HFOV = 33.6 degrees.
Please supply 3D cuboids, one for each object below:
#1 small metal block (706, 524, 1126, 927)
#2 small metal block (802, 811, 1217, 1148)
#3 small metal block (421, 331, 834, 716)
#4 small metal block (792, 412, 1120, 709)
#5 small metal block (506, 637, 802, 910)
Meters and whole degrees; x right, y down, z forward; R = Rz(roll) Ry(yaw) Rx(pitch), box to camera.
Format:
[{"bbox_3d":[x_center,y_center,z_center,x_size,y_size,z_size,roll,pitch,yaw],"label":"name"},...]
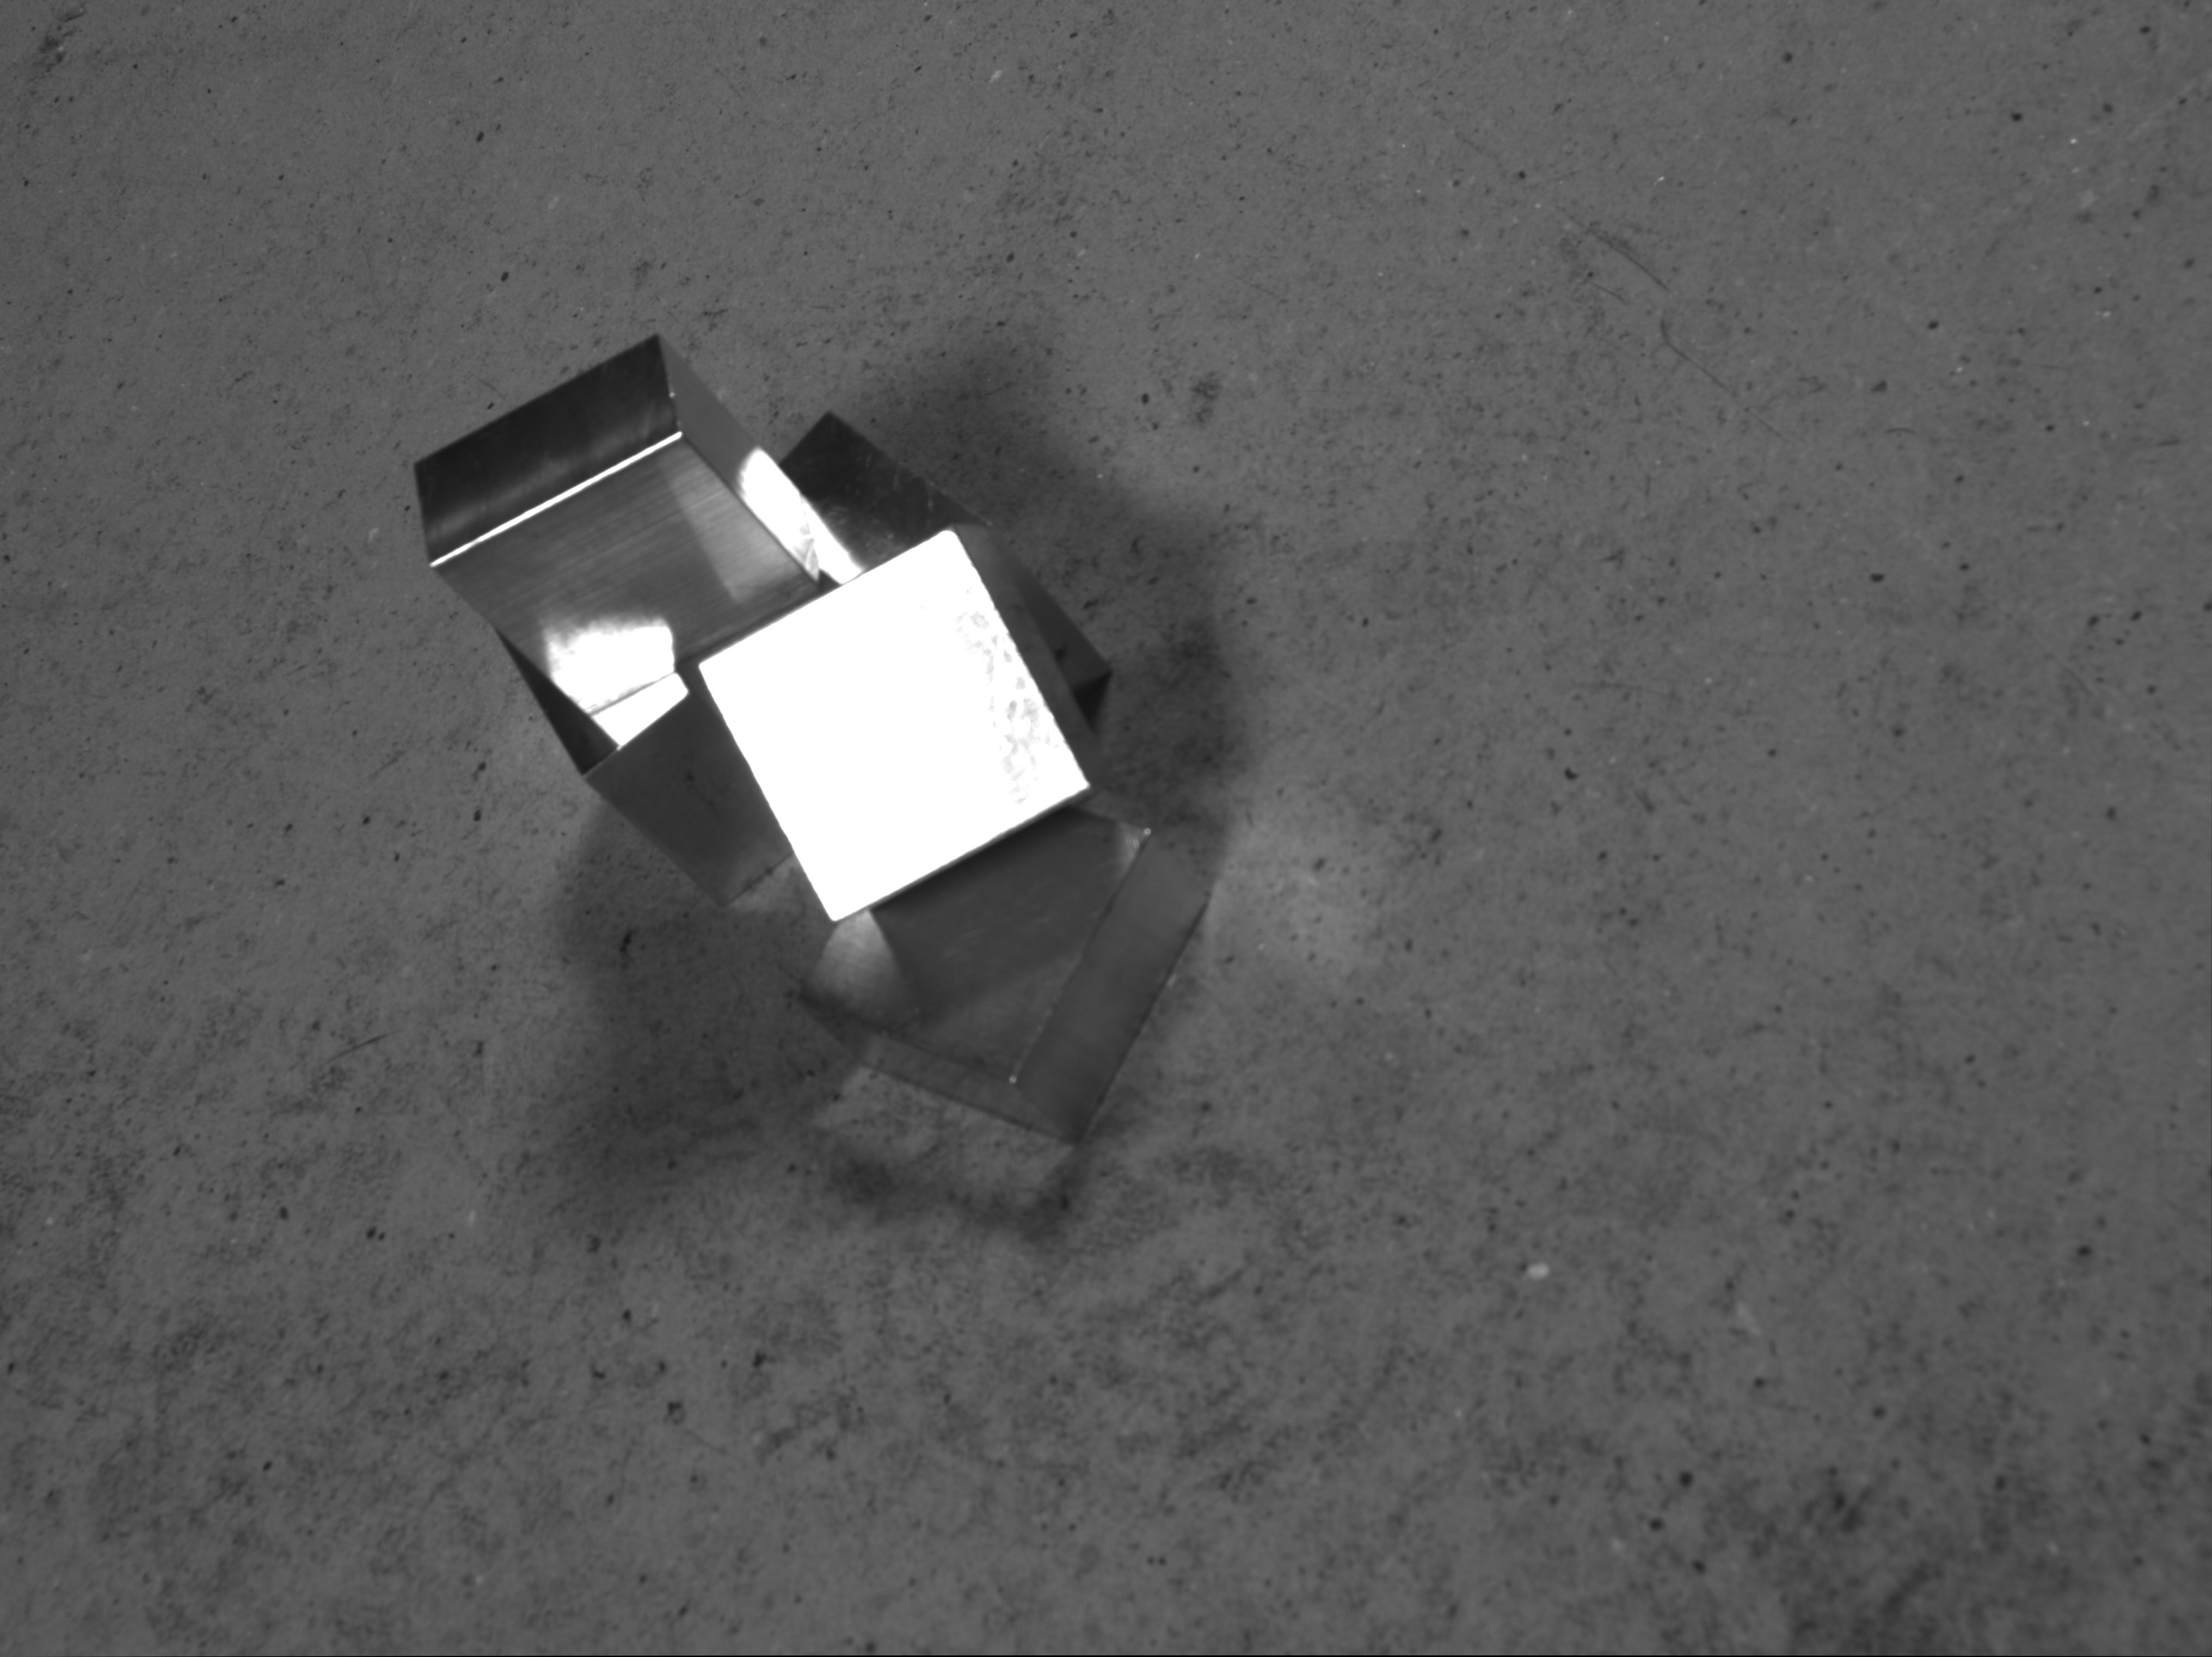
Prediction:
[{"bbox_3d":[-0.032,-0.018,0.625,0.050,0.025,0.050,-28,89,11],"label":"small metal block"},{"bbox_3d":[-0.017,0.022,0.640,0.050,0.025,0.050,17,71,35],"label":"small metal block"},{"bbox_3d":[-0.083,-0.053,0.641,0.050,0.050,0.025,-26,52,12],"label":"small metal block"},{"bbox_3d":[-0.032,-0.043,0.673,0.025,0.050,0.050,-48,51,-6],"label":"small metal block"},{"bbox_3d":[-0.083,-0.020,0.686,0.025,0.050,0.050,-38,51,2],"label":"small metal block"}]
